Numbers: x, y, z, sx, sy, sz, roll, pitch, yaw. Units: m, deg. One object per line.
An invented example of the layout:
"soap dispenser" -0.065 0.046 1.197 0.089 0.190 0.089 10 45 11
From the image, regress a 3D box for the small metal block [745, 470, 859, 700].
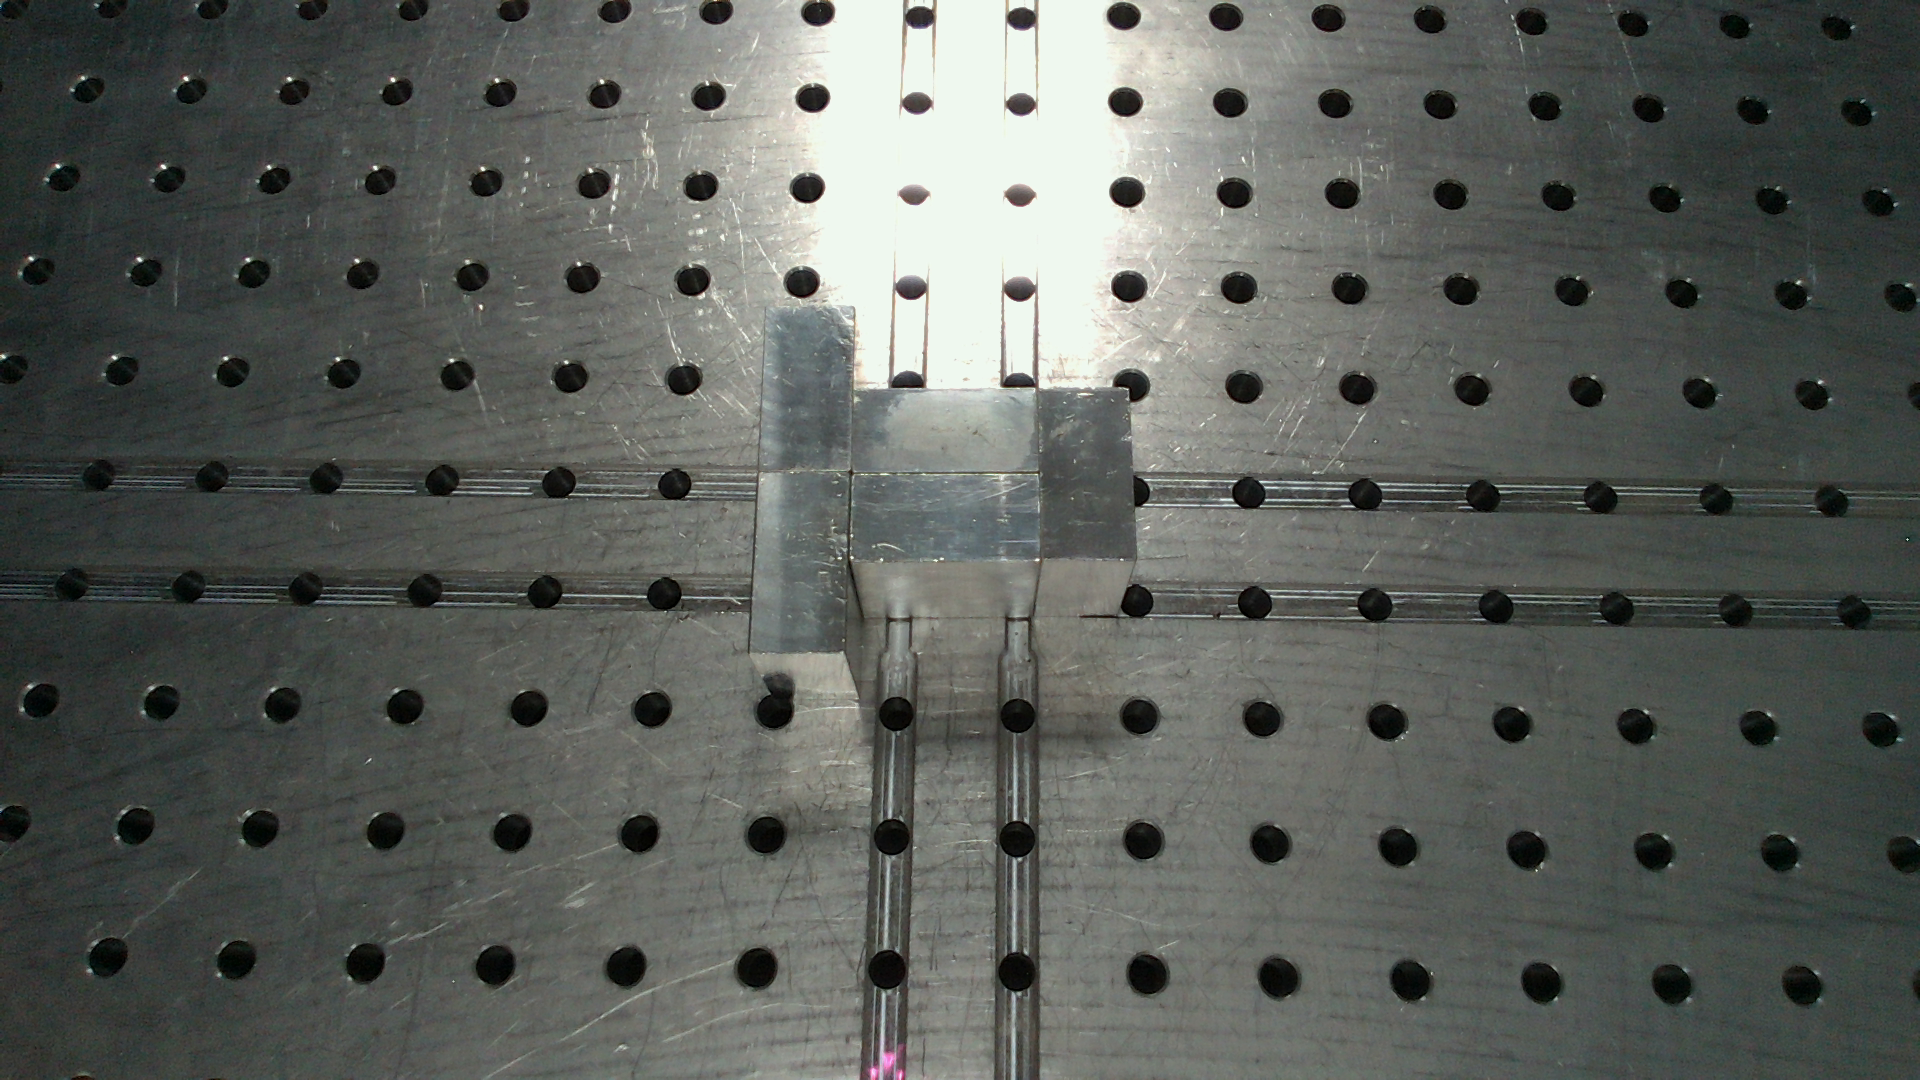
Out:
"small metal block" -0.041 0.014 0.378 0.025 0.050 0.050 0 70 0

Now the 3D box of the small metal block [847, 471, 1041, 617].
"small metal block" -0.004 0.002 0.382 0.050 0.050 0.025 0 70 0

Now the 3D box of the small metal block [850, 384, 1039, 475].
"small metal block" -0.004 -0.022 0.391 0.050 0.050 0.025 0 70 0

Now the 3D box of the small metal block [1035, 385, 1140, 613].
"small metal block" 0.034 -0.010 0.387 0.025 0.050 0.050 0 70 0

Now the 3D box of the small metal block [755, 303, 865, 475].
"small metal block" -0.042 -0.033 0.395 0.025 0.050 0.050 0 70 0
